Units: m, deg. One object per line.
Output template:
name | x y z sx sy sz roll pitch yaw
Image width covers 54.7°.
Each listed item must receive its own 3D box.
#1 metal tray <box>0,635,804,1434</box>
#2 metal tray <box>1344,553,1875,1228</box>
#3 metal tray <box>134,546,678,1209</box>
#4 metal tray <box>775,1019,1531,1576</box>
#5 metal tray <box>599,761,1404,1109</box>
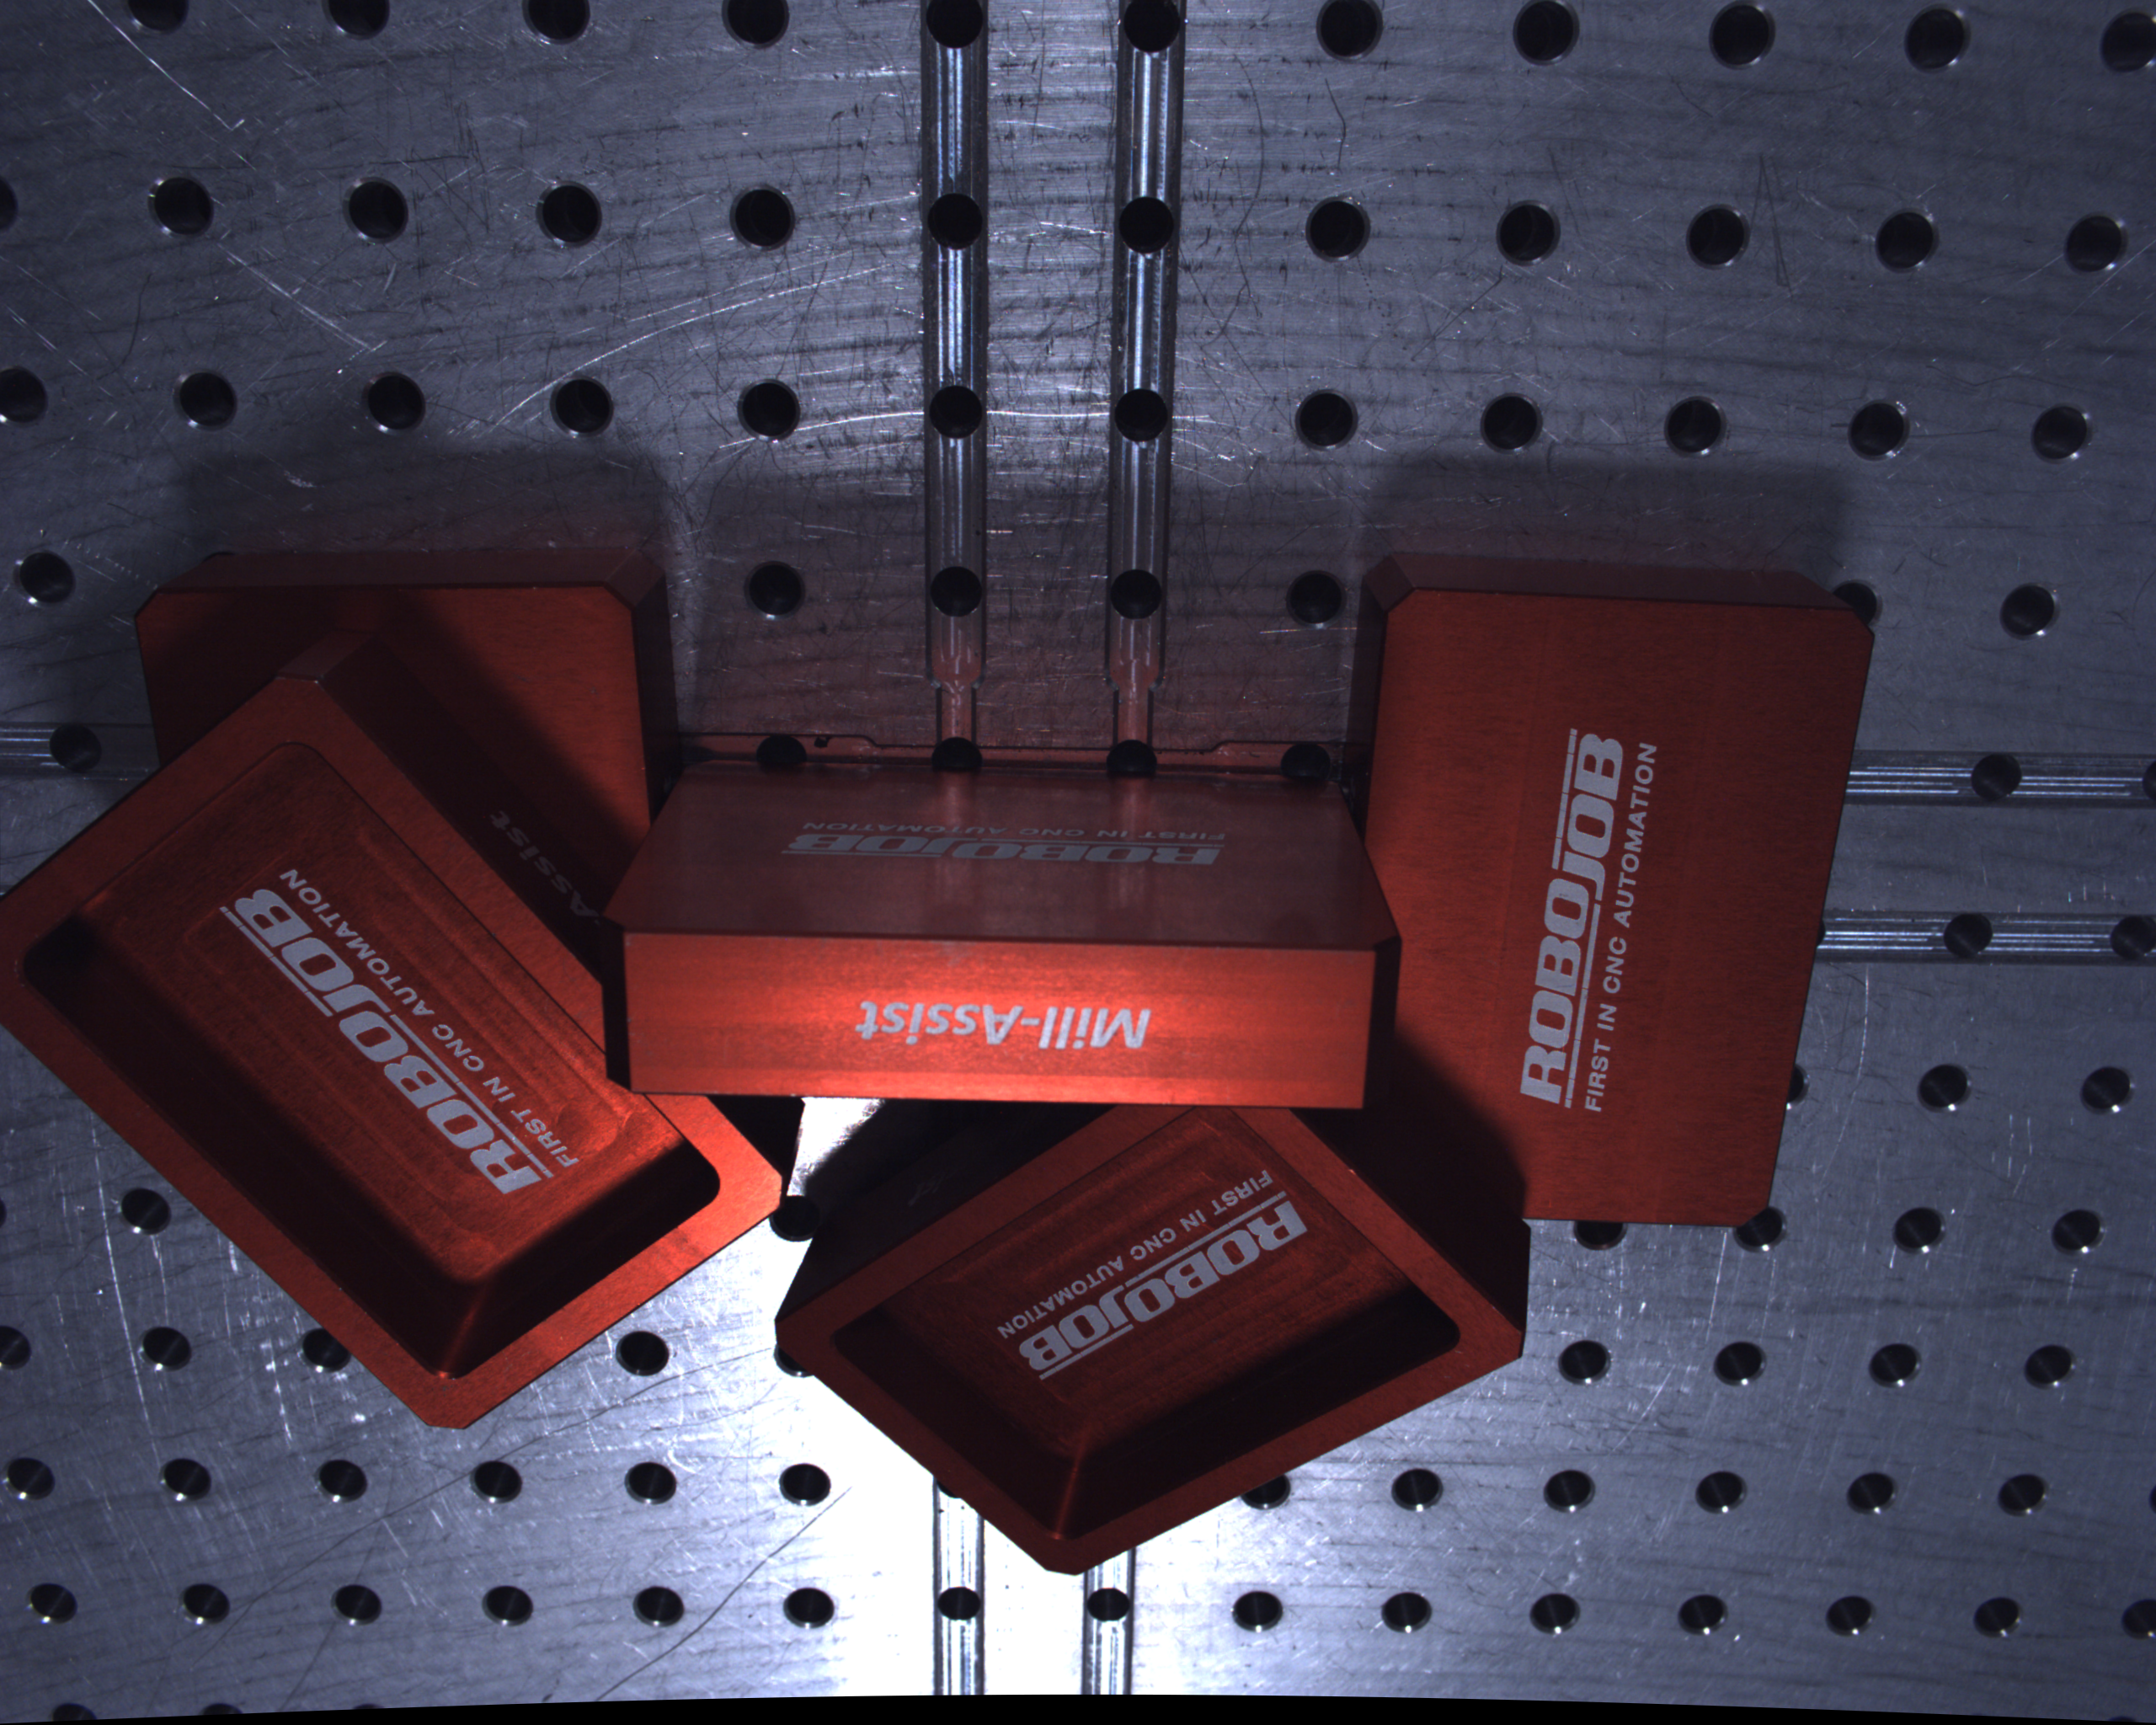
metal tray | -0.126 0.035 0.388 0.090 0.030 0.130 -36 107 11
metal tray | 0.097 0.007 0.414 0.091 0.030 0.129 3 110 -2
metal tray | -0.124 0.005 0.411 0.091 0.030 0.129 -1 111 0
metal tray | 0.014 0.087 0.423 0.130 0.030 0.090 -37 108 30
metal tray | -0.013 0.010 0.381 0.131 0.090 0.030 1 110 -1
